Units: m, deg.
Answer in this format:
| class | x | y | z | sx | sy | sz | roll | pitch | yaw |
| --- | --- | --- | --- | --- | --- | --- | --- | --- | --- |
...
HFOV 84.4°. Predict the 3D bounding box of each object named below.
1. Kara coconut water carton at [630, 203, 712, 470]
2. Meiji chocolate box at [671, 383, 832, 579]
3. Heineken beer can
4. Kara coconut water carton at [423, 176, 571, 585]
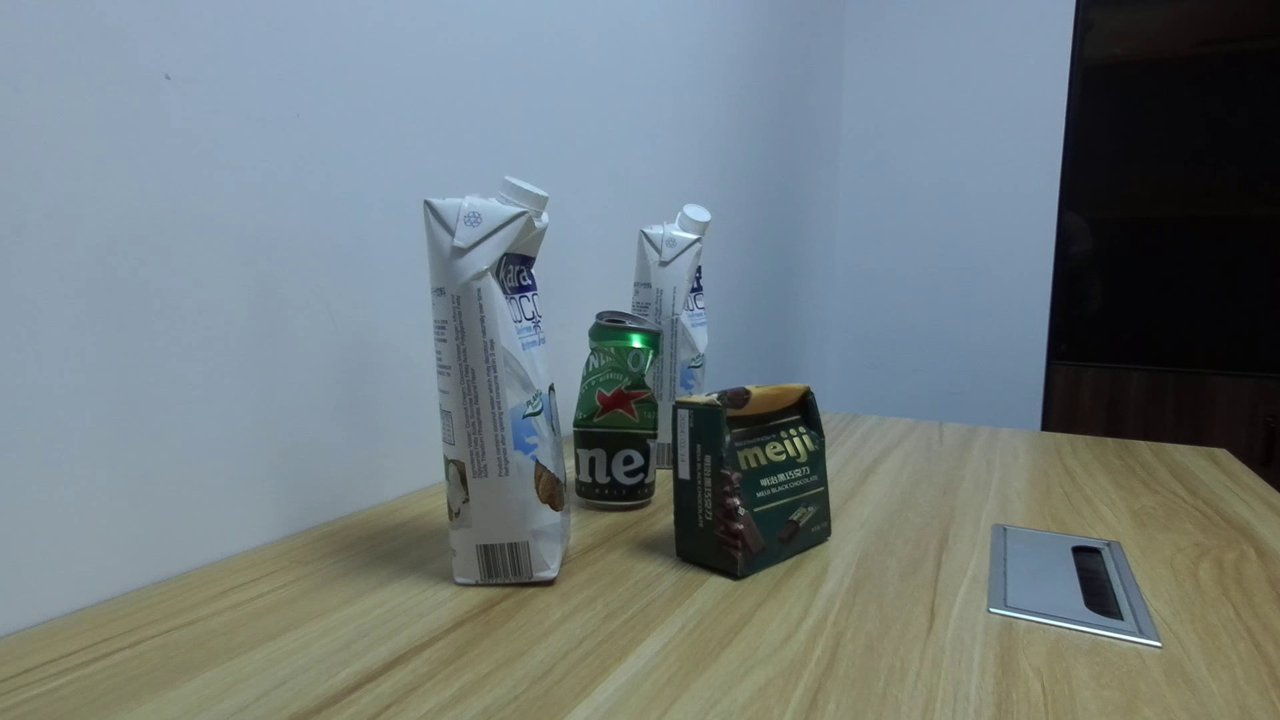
| class | x | y | z | sx | sy | sz | roll | pitch | yaw |
| --- | --- | --- | --- | --- | --- | --- | --- | --- | --- |
| Kara coconut water carton | 0.027 | -0.024 | 0.699 | 0.078 | 0.255 | 0.083 | 5 | 8 | 18 |
| Meiji chocolate box | 0.077 | 0.080 | 0.489 | 0.058 | 0.110 | 0.114 | -2 | 1 | 45 |
| Heineken beer can | -0.020 | 0.042 | 0.573 | 0.078 | 0.159 | 0.067 | 11 | 14 | 26 |
| Kara coconut water carton | -0.087 | 0.011 | 0.450 | 0.071 | 0.244 | 0.099 | -2 | 10 | 2 |
